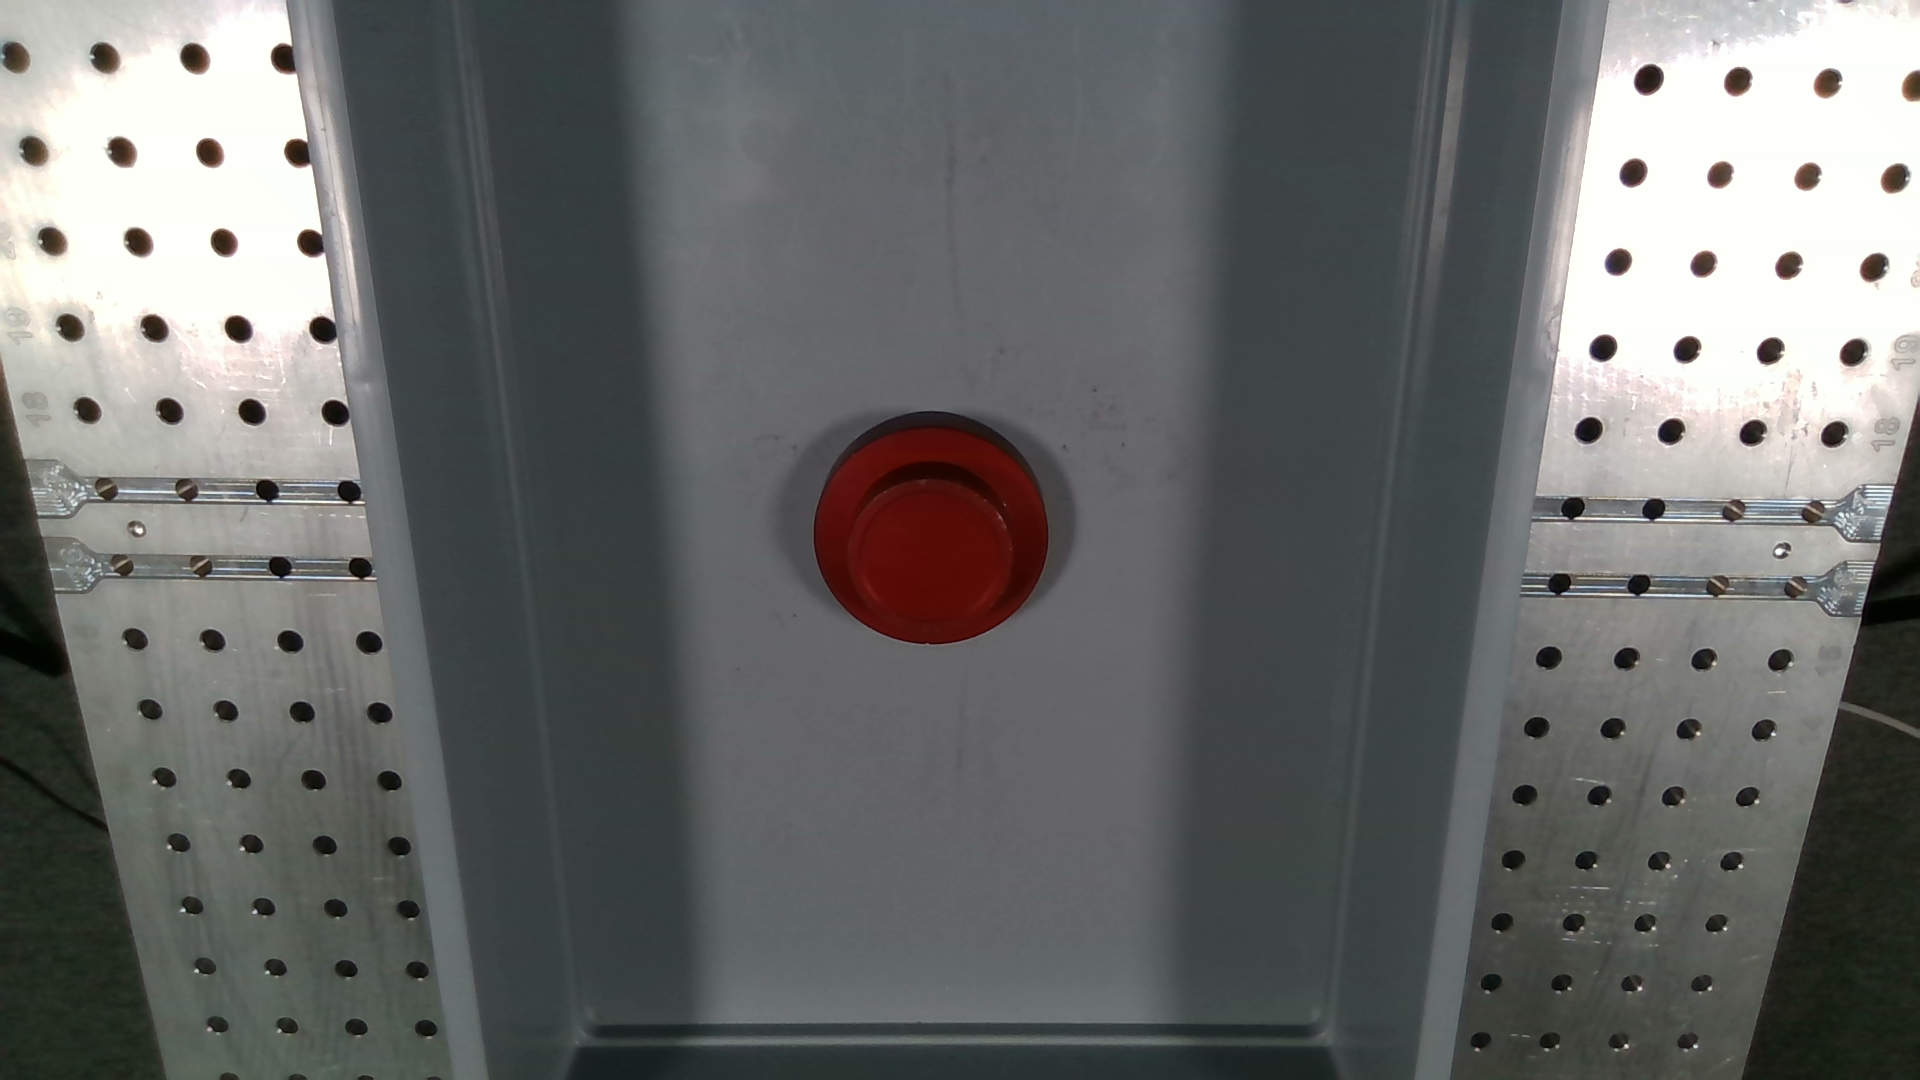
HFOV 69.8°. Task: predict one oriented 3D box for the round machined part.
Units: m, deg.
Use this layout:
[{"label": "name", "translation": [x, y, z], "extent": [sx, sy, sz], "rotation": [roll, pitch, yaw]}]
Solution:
[{"label": "round machined part", "translation": [-0.013, 0.000, 0.572], "extent": [0.098, 0.042, 0.098], "rotation": [0, 110, 0]}]
